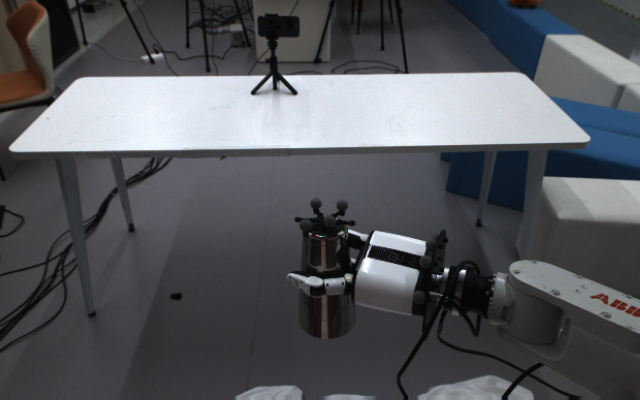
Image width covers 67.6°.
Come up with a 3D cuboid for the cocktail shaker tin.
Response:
[{"bbox_3d":[0.011,0.114,0.740,0.093,0.170,0.093,-1,26,1],"label":"cocktail shaker tin"}]
